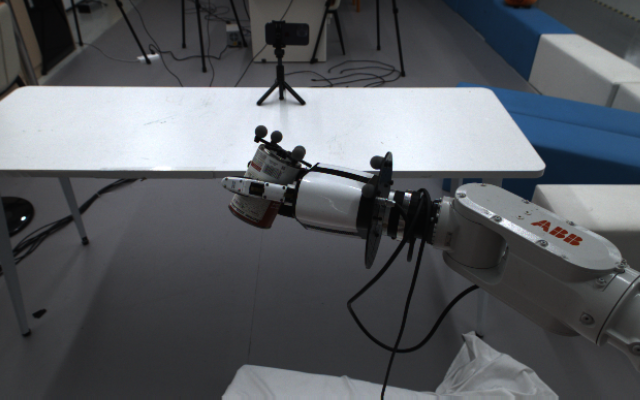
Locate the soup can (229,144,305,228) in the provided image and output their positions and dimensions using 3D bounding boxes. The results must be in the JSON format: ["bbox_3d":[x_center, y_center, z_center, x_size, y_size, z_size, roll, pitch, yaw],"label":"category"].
[{"bbox_3d":[-0.077,-0.018,0.683,0.067,0.101,0.067,27,10,-5],"label":"soup can"}]
